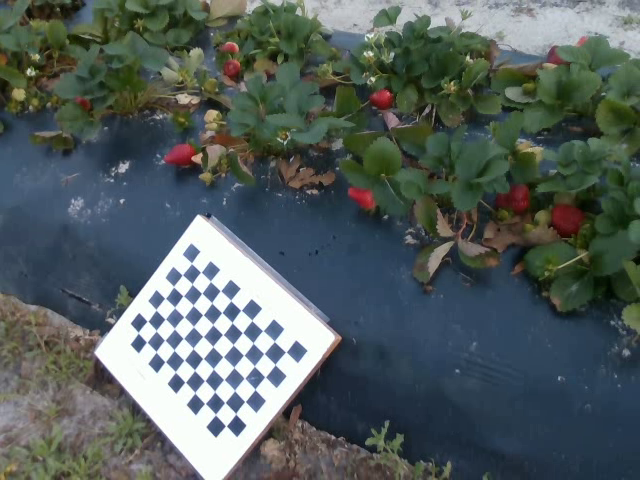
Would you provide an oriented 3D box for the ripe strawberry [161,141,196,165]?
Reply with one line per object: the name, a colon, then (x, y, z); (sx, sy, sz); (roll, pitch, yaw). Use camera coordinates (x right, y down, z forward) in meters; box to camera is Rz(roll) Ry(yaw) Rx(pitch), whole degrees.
ripe strawberry: (-0.233, -0.141, 1.034); (0.050, 0.034, 0.059); (27, 41, 26)
